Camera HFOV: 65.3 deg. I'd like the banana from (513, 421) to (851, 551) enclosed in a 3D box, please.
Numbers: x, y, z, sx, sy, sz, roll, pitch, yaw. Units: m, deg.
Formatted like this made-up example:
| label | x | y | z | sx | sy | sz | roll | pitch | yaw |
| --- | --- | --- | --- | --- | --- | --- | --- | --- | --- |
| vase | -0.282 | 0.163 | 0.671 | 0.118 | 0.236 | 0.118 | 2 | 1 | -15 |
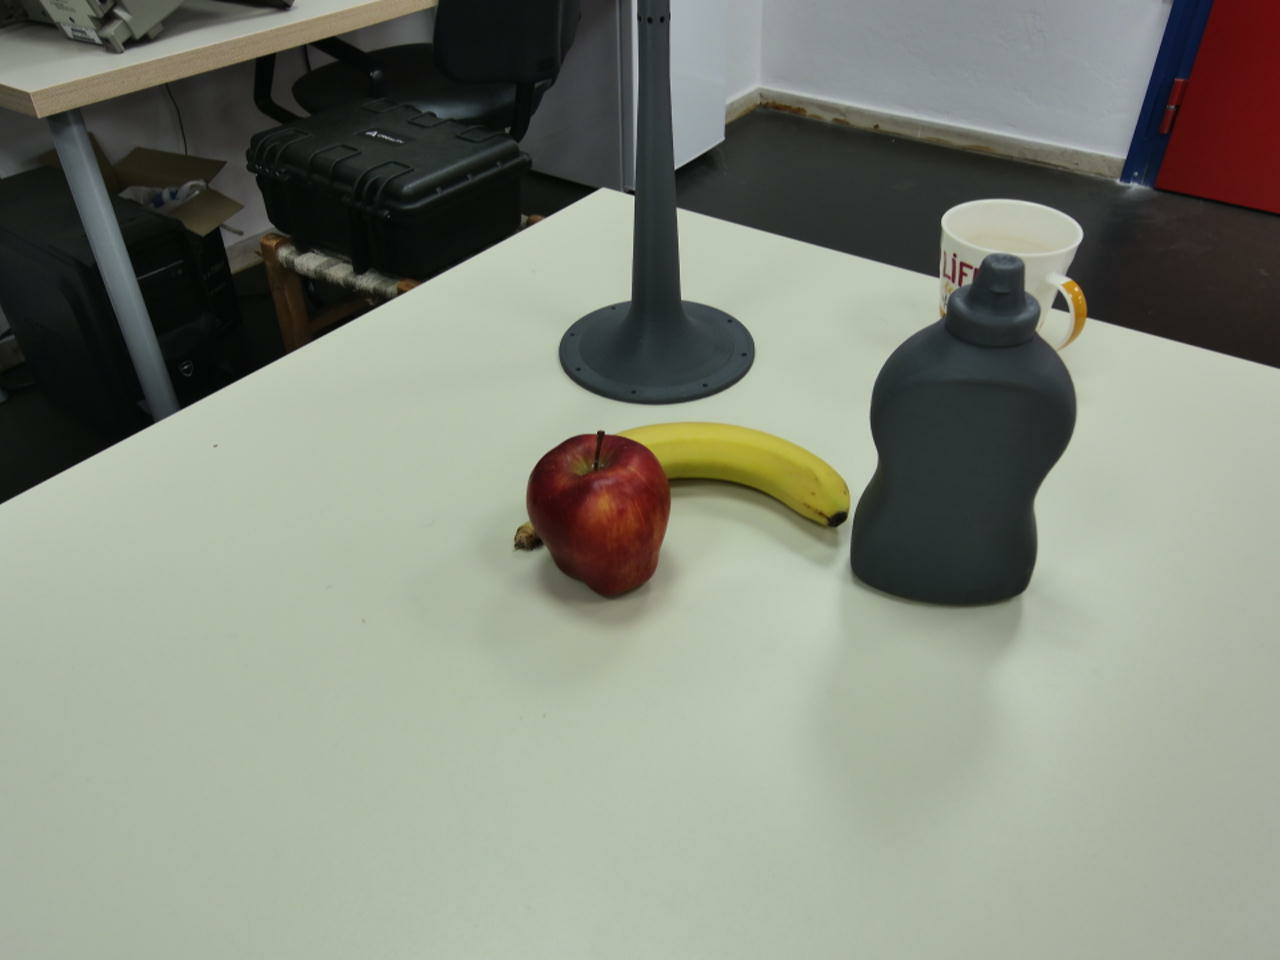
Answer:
| label | x | y | z | sx | sy | sz | roll | pitch | yaw |
| --- | --- | --- | --- | --- | --- | --- | --- | --- | --- |
| banana | 0.024 | -0.002 | 0.611 | 0.196 | 0.041 | 0.094 | 0 | 37 | 1 |
